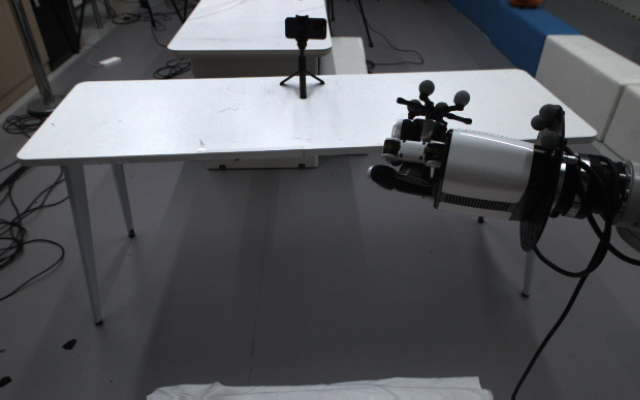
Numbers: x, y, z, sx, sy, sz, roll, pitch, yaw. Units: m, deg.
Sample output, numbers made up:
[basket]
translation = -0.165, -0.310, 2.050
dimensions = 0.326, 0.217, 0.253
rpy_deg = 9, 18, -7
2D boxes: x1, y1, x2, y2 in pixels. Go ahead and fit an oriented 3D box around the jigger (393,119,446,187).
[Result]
[jigger]
translation = 0.117, -0.055, 0.553
dimensions = 0.043, 0.071, 0.043
rpy_deg = 18, -6, 2
